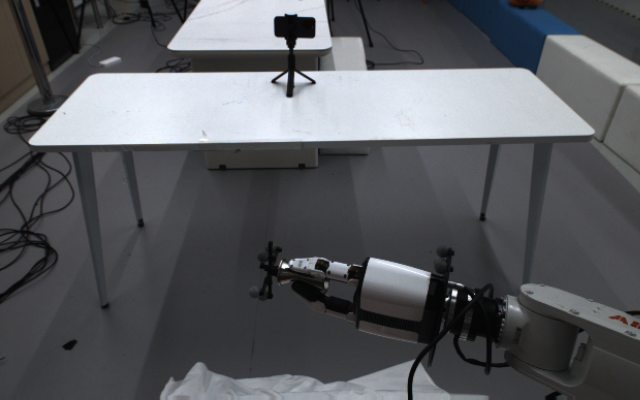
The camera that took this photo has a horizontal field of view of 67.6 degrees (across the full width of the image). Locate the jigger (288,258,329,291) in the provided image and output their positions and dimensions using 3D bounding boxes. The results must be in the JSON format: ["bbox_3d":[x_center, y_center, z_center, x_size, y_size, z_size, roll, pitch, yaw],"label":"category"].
[{"bbox_3d":[-0.015,0.103,0.687,0.071,0.043,0.043,6,35,11],"label":"jigger"}]
